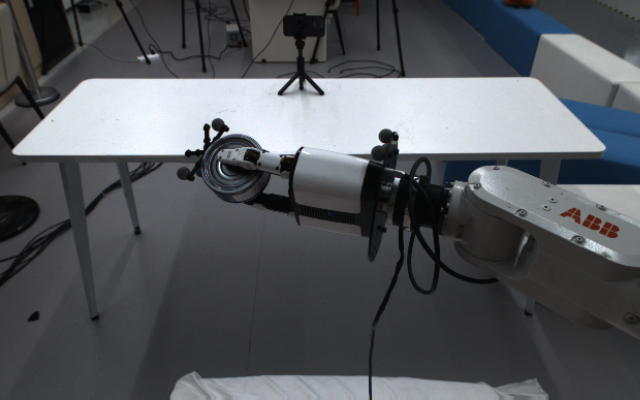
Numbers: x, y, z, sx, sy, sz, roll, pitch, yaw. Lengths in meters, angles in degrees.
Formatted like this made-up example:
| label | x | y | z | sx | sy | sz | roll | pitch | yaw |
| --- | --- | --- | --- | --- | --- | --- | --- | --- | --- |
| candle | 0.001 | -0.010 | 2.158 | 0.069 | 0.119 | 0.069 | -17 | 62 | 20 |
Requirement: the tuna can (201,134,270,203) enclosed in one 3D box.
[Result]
| label | x | y | z | sx | sy | sz | roll | pitch | yaw |
| --- | --- | --- | --- | --- | --- | --- | --- | --- | --- |
| tuna can | -0.106 | -0.038 | 0.622 | 0.085 | 0.034 | 0.085 | -2 | 72 | 6 |
